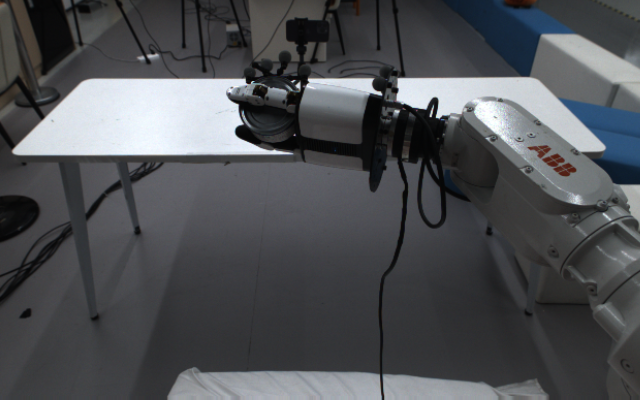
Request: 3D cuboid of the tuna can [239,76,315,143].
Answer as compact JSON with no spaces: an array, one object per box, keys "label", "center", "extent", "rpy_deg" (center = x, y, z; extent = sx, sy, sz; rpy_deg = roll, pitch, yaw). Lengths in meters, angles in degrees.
[{"label":"tuna can","center":[-0.064,-0.122,0.658],"extent":[0.085,0.034,0.085],"rpy_deg":[-3,73,10]}]
